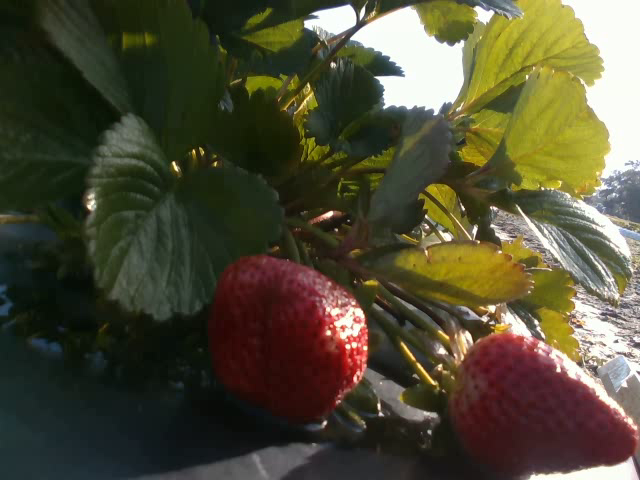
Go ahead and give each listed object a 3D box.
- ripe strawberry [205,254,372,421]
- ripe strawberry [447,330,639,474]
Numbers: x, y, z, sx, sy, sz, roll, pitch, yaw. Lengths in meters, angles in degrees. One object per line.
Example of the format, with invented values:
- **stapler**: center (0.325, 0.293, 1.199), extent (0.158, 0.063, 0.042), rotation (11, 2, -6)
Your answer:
- **ripe strawberry**: center (-0.007, 0.023, 0.149), extent (0.039, 0.048, 0.054), rotation (-30, -26, -5)
- **ripe strawberry**: center (0.060, 0.043, 0.157), extent (0.043, 0.039, 0.053), rotation (38, -20, -35)
